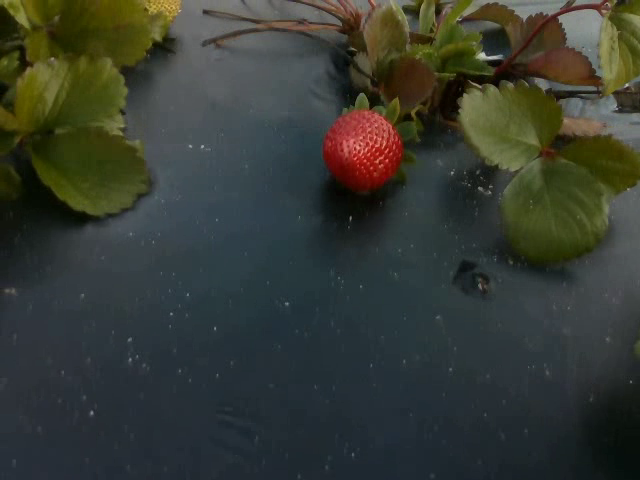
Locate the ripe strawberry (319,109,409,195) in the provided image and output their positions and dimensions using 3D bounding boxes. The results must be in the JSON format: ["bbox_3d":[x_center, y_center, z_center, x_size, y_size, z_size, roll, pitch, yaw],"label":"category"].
[{"bbox_3d":[0.015,-0.034,0.225,0.042,0.044,0.052,-38,2,25],"label":"ripe strawberry"}]
